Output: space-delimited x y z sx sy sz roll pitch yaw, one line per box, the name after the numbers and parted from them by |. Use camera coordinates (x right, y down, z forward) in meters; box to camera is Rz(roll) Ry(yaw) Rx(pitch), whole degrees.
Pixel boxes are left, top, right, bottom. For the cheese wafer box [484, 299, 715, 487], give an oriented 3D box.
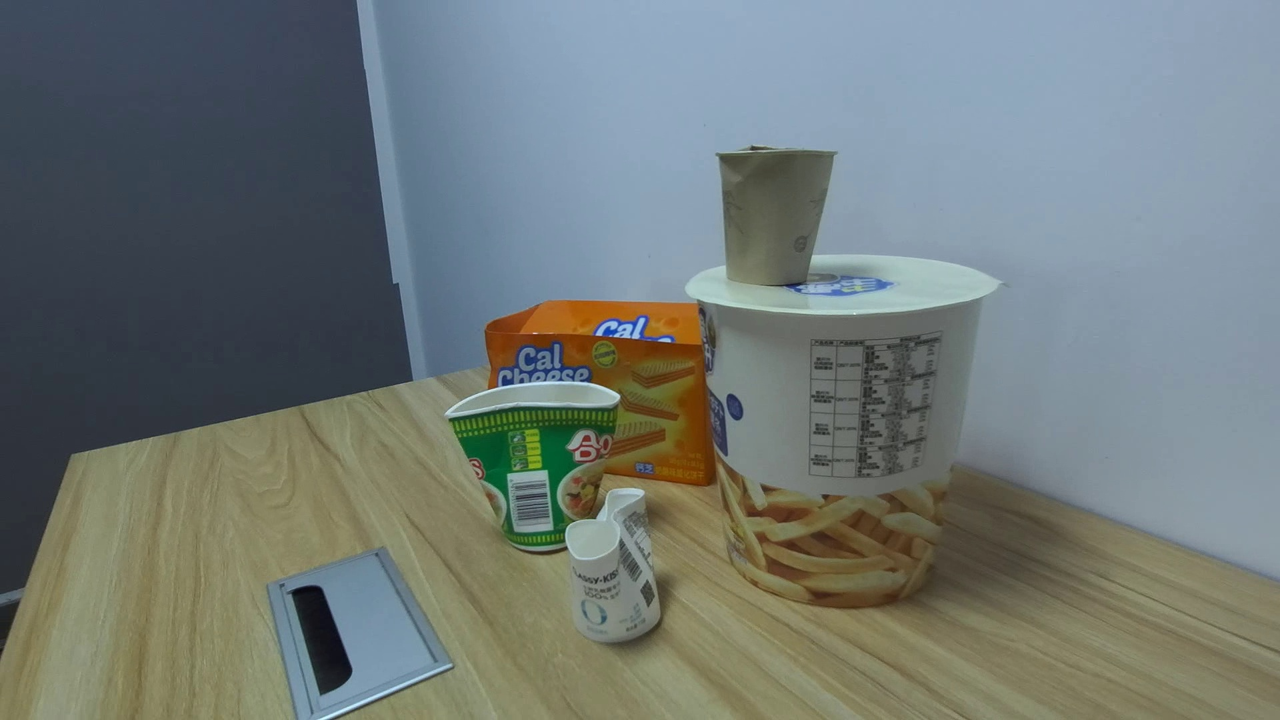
-0.024 0.023 0.682 0.230 0.132 0.152 4 20 21 | cheese wafer box

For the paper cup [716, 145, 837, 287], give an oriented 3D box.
0.084 -0.092 0.451 0.071 0.084 0.066 8 18 26 | paper cup

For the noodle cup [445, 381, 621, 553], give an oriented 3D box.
-0.072 0.078 0.528 0.115 0.111 0.070 3 20 21 | noodle cup

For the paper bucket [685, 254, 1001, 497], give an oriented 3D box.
0.127 0.040 0.474 0.198 0.194 0.198 -3 18 1 | paper bucket
